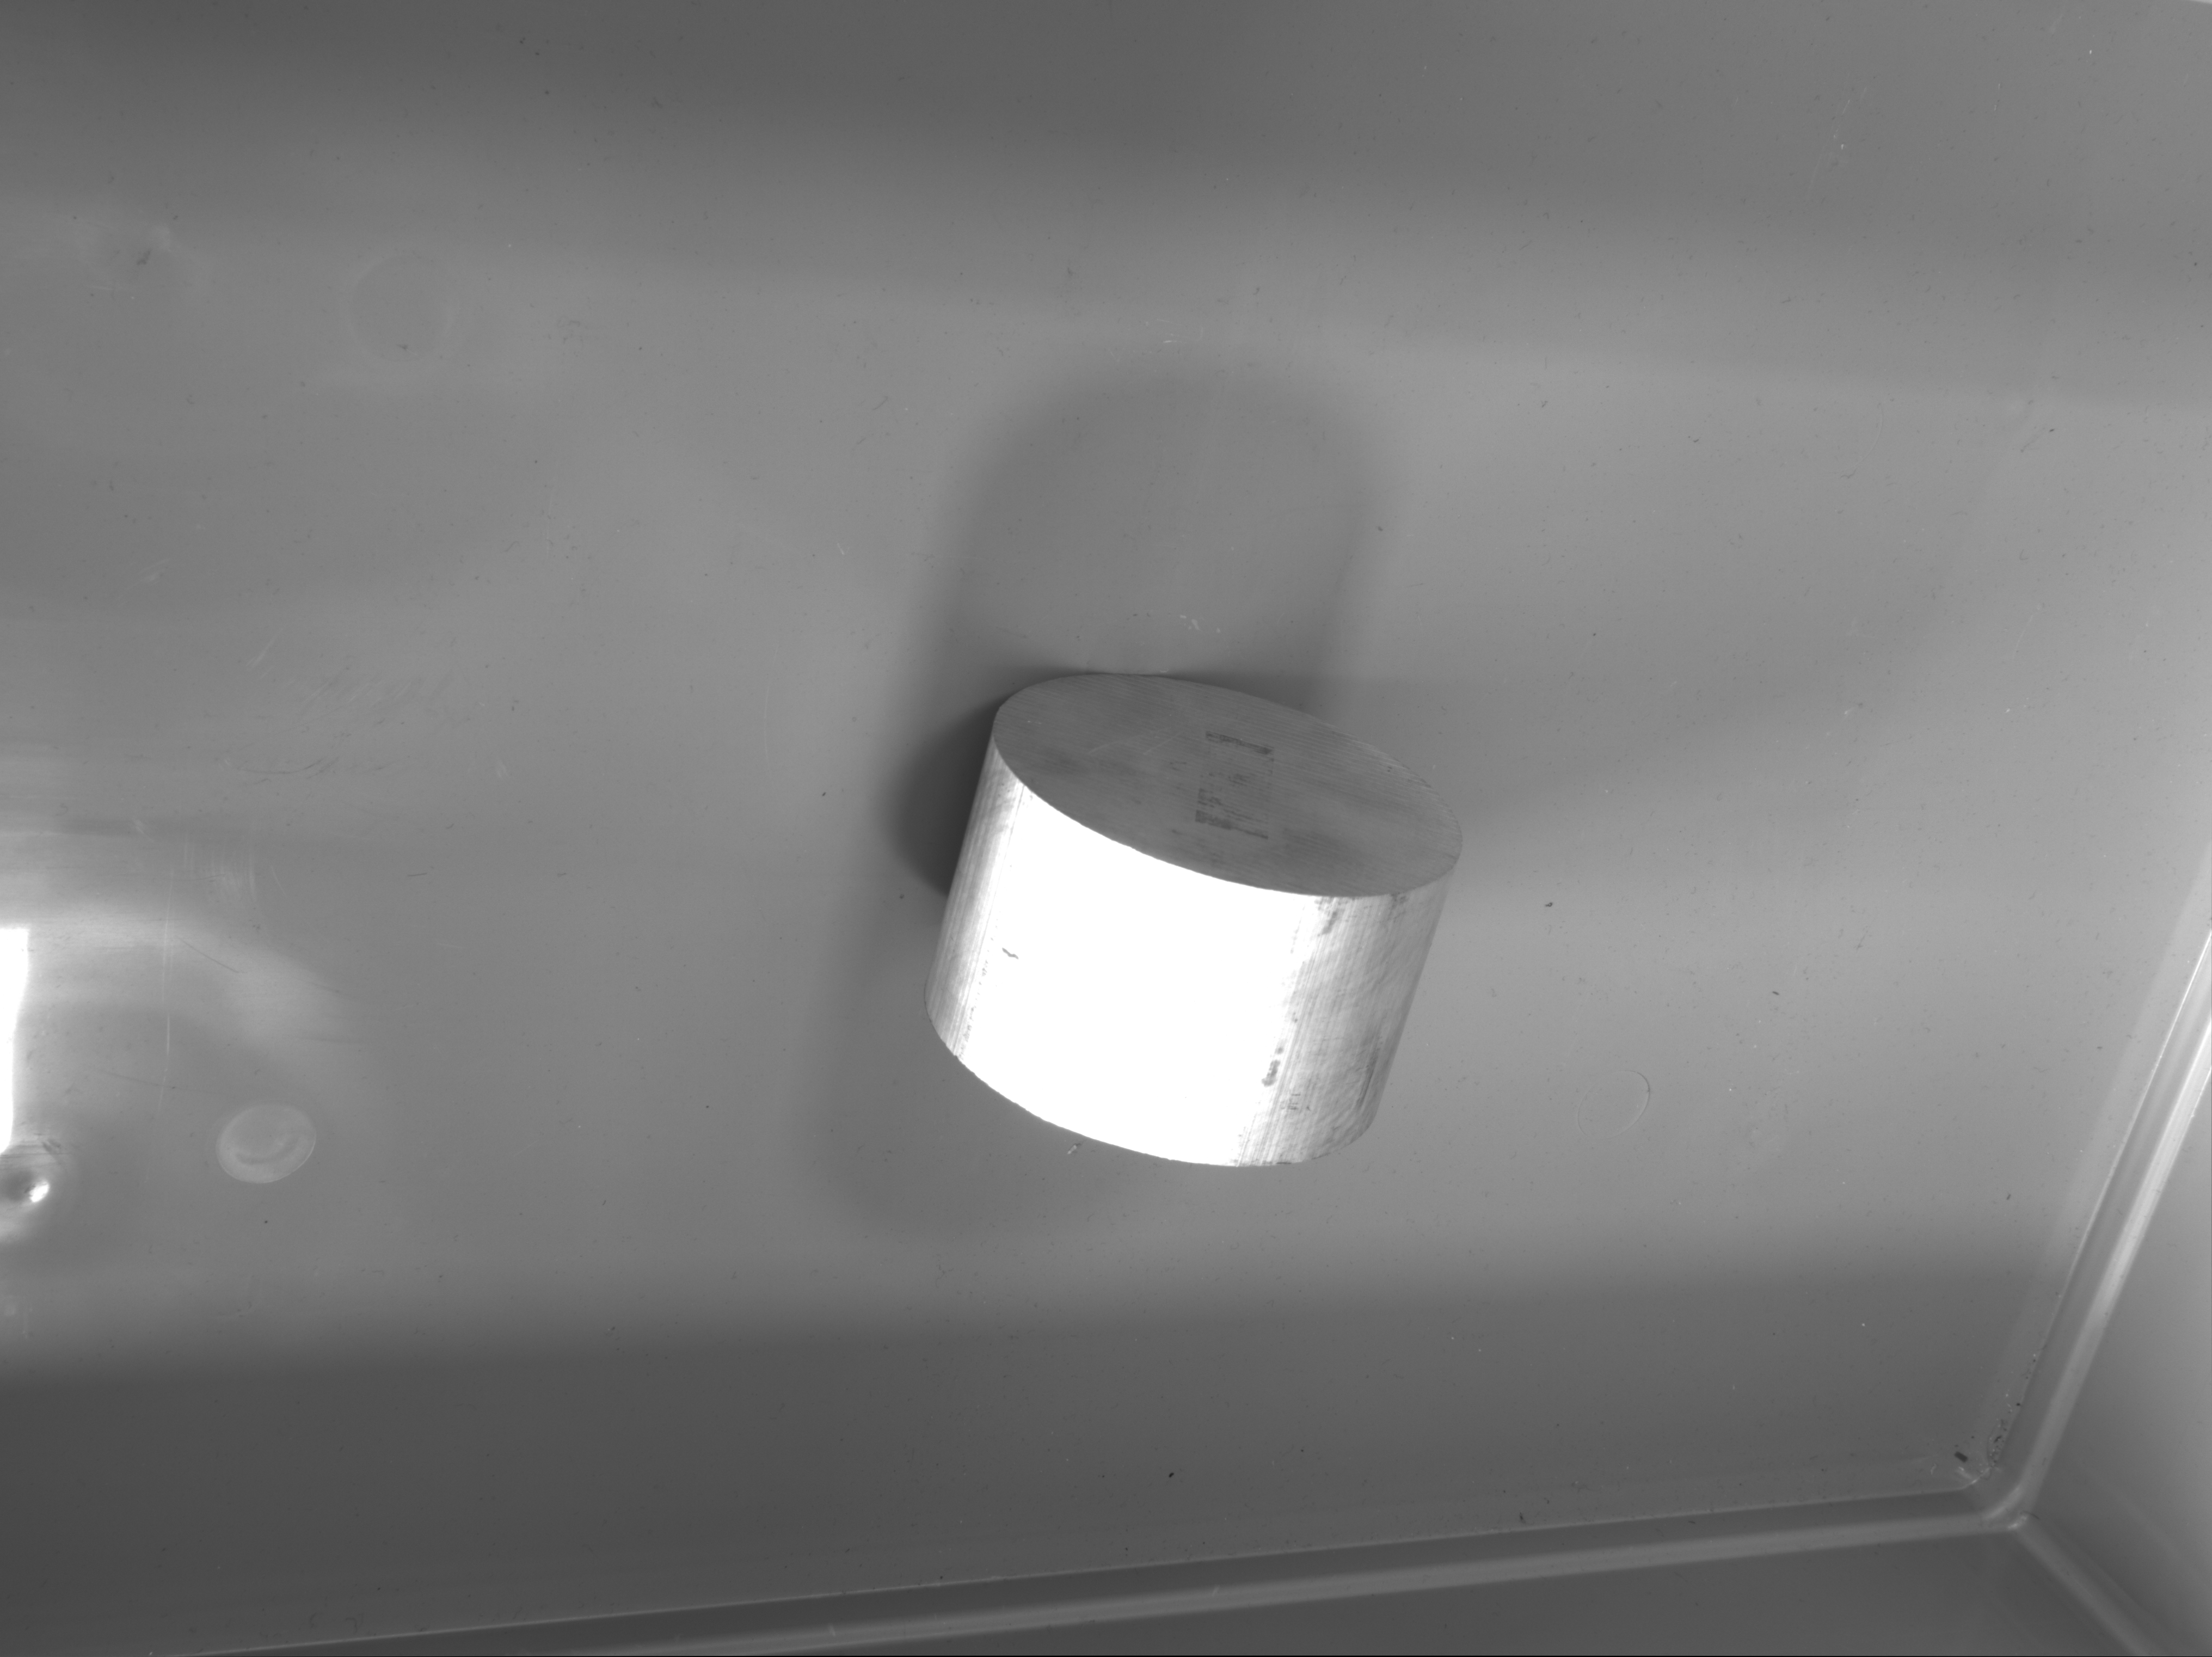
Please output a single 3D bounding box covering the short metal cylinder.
[{"bbox_3d":[0.014,0.015,0.616,0.080,0.080,0.050,2,117,-29],"label":"short metal cylinder"}]
